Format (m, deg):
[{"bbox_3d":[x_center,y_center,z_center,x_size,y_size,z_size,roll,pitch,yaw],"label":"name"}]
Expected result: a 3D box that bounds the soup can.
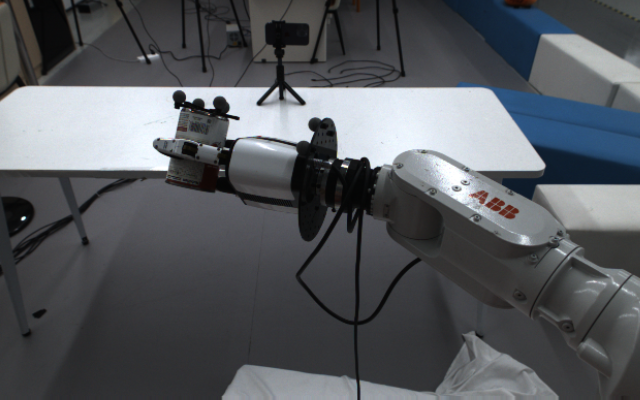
[{"bbox_3d":[-0.166,-0.065,0.655,0.067,0.101,0.067,12,0,0],"label":"soup can"}]
